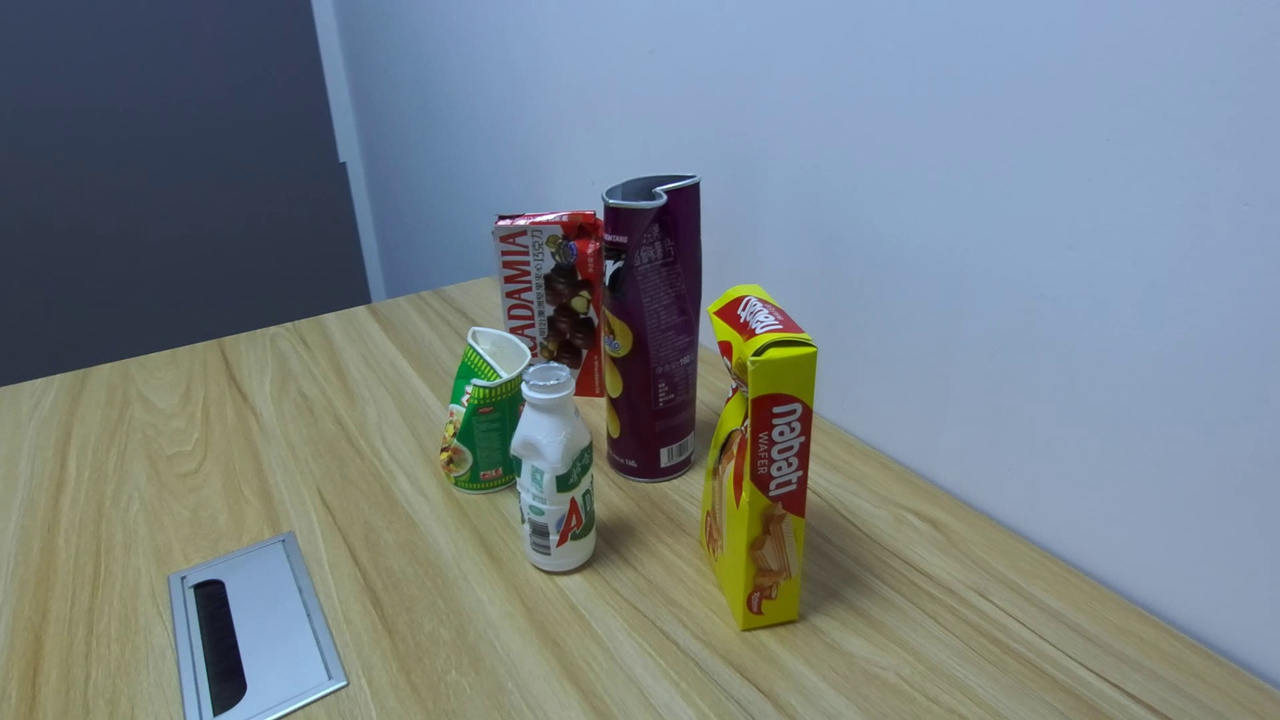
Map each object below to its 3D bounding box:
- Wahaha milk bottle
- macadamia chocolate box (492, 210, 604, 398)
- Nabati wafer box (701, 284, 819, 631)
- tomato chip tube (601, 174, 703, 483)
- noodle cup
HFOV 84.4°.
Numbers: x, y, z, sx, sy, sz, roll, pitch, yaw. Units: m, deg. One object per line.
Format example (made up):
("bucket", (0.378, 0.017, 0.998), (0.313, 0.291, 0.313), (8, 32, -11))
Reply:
("Wahaha milk bottle", (-0.058, 0.072, 0.478), (0.055, 0.149, 0.055), (-1, 28, 1))
("macadamia chocolate box", (-0.079, -0.048, 0.666), (0.102, 0.187, 0.027), (3, 30, 9))
("Nabati wafer box", (0.070, 0.058, 0.443), (0.042, 0.204, 0.106), (-7, 29, -9))
("tomato chip tube", (0.011, -0.019, 0.557), (0.078, 0.235, 0.076), (-1, 28, -1))
("noodle cup", (-0.127, 0.044, 0.570), (0.075, 0.122, 0.083), (16, 23, 13))
